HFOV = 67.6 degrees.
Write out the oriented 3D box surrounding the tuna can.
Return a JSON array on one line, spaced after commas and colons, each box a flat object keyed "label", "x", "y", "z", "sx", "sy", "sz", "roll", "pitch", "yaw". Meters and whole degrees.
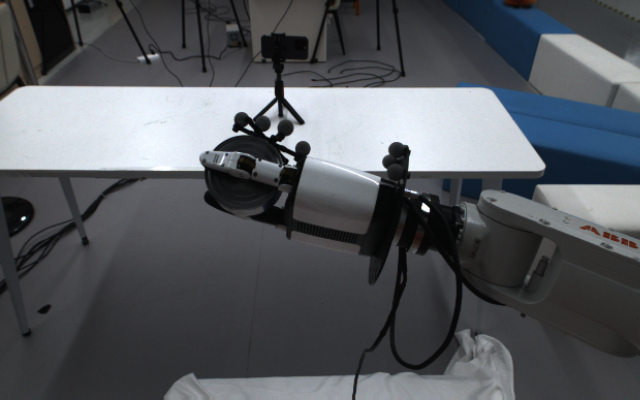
[{"label": "tuna can", "x": -0.080, "y": -0.026, "z": 0.539, "sx": 0.085, "sy": 0.034, "sz": 0.085, "roll": 0, "pitch": 72, "yaw": 0}]
